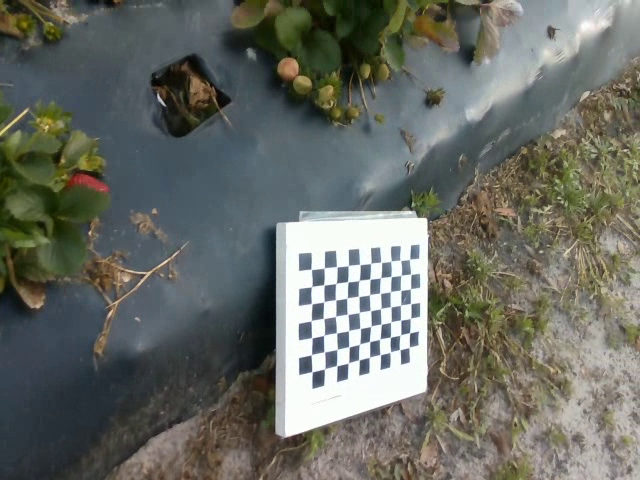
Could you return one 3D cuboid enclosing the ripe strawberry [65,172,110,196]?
[{"bbox_3d":[-0.257,-0.053,0.686,0.046,0.043,0.046,-5,1,-11],"label":"ripe strawberry"}]
